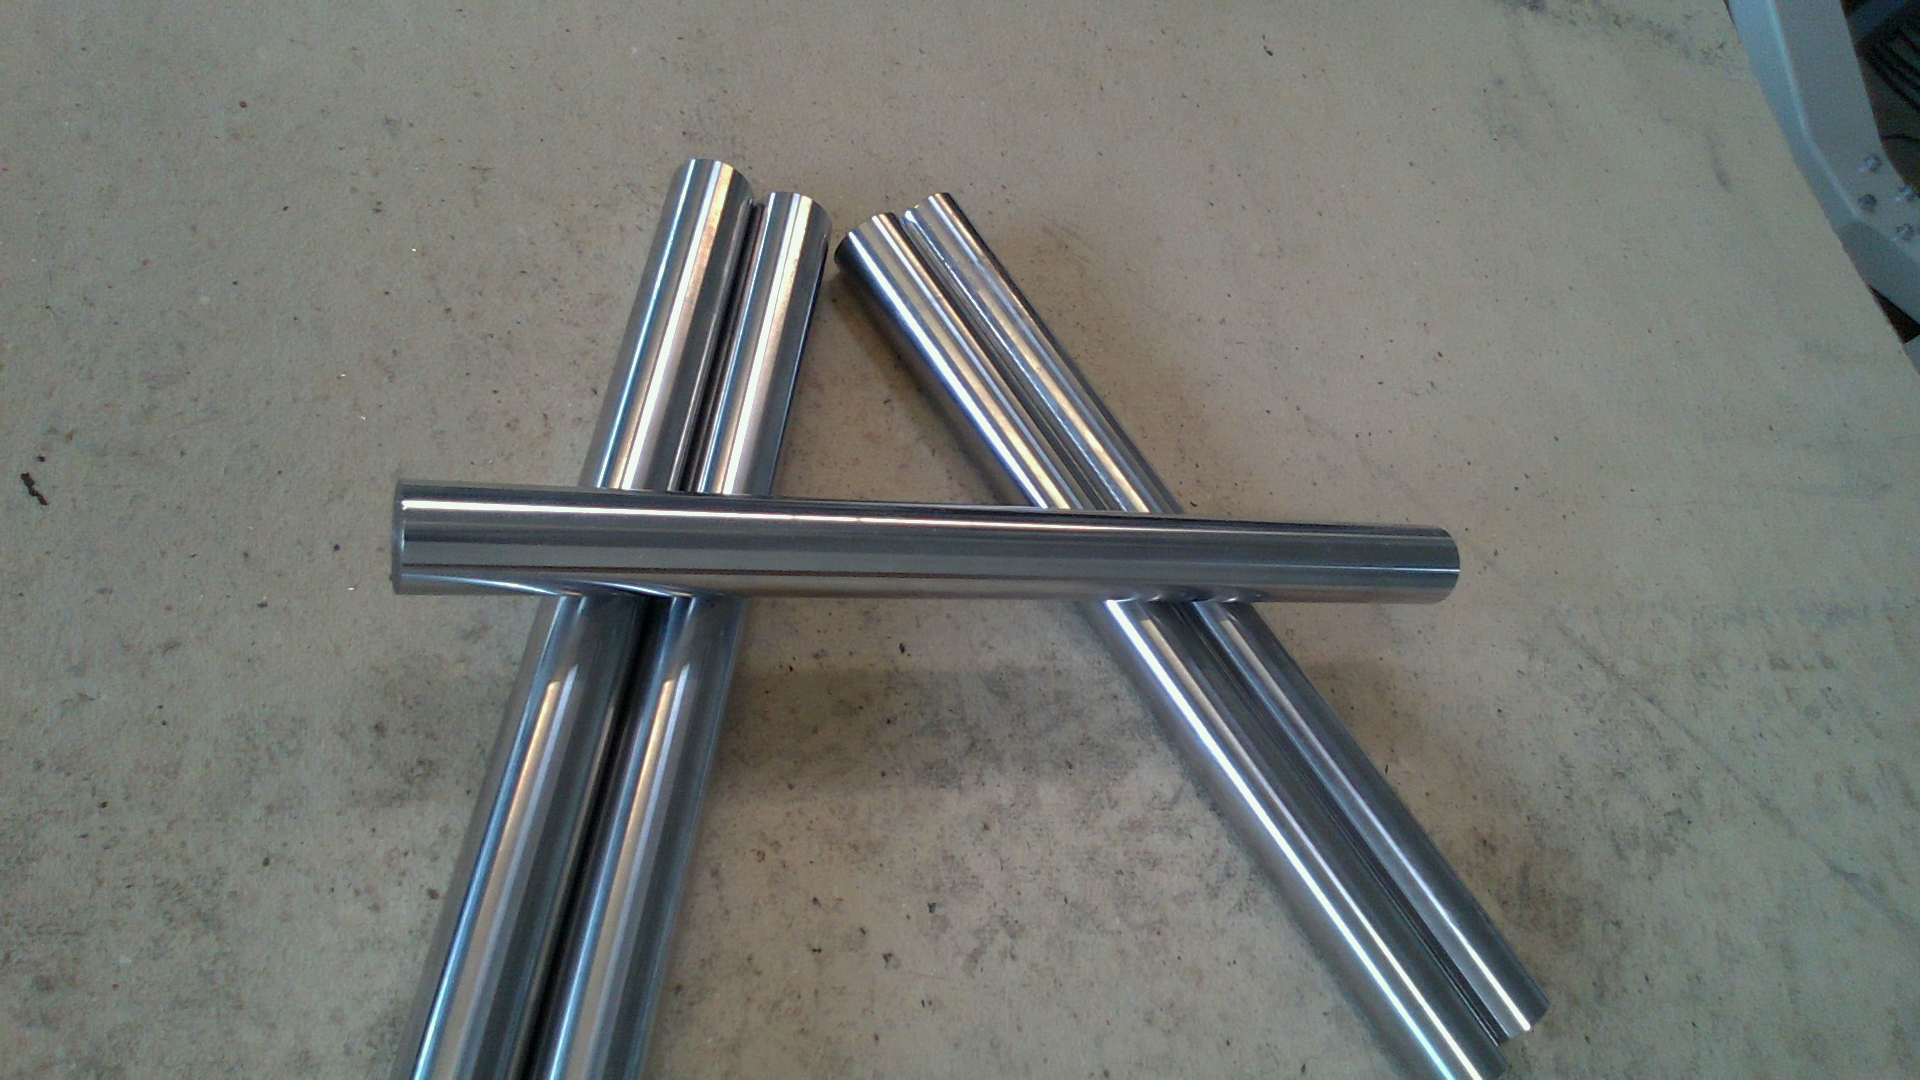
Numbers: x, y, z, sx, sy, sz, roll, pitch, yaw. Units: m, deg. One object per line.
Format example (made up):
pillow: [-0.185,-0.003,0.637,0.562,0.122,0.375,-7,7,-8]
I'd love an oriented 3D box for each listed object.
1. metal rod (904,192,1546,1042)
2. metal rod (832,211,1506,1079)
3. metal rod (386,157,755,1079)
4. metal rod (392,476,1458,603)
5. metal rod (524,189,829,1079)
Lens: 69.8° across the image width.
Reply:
metal rod: [0.071,0.017,0.419,0.025,0.025,0.300,-26,76,-37]
metal rod: [0.054,0.026,0.404,0.025,0.025,0.300,-26,76,-37]
metal rod: [-0.089,0.018,0.330,0.025,0.025,0.300,19,54,-17]
metal rod: [0.013,0.003,0.363,0.301,0.025,0.025,2,61,-28]
metal rod: [-0.066,0.026,0.338,0.025,0.025,0.300,19,54,-17]
